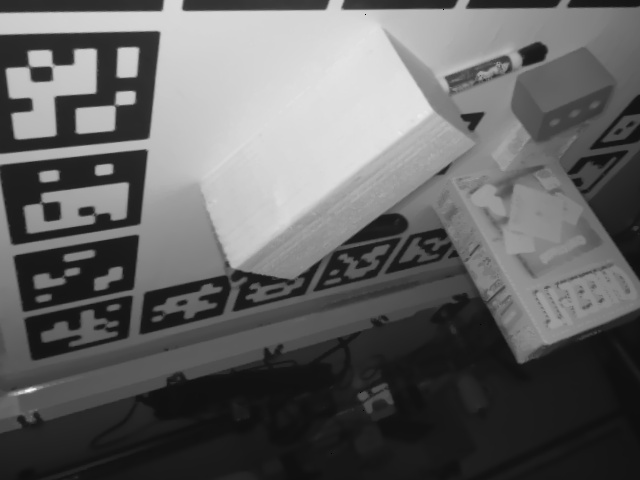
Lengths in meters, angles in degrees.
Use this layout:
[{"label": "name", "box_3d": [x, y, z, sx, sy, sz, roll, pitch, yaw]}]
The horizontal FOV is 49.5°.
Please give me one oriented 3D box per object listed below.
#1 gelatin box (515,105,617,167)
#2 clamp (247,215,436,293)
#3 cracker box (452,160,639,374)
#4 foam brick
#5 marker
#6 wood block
[{"label": "gelatin box", "box_3d": [0.266, -0.120, 0.752, 0.090, 0.030, 0.072, -12, 144, -23]}, {"label": "clamp", "box_3d": [0.017, -0.005, 0.720, 0.203, 0.036, 0.165, -29, 148, 2]}, {"label": "cracker box", "box_3d": [0.270, 0.020, 0.769, 0.166, 0.214, 0.071, -12, 147, -20]}, {"label": "foam brick", "box_3d": [0.251, -0.152, 0.667, 0.078, 0.051, 0.052, -25, 147, -3]}, {"label": "marker", "box_3d": [0.170, -0.166, 0.614, 0.122, 0.019, 0.019, -23, 147, -8]}, {"label": "wood block", "box_3d": [0.021, -0.072, 0.580, 0.203, 0.091, 0.091, -39, 149, 24]}]
